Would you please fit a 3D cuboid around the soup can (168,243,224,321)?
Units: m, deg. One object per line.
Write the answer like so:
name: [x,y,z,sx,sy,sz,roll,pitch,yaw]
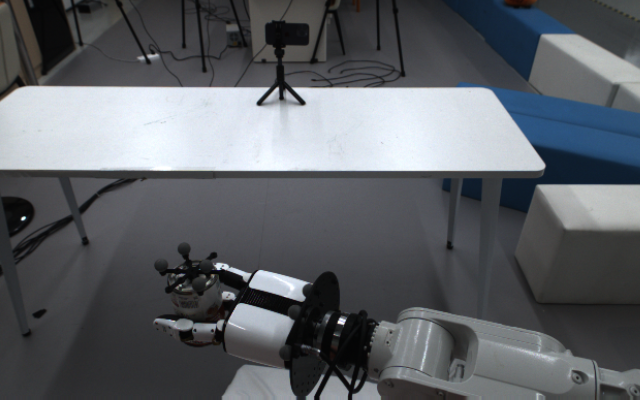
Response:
soup can: [-0.165,0.143,0.663,0.067,0.101,0.067,-1,32,1]
